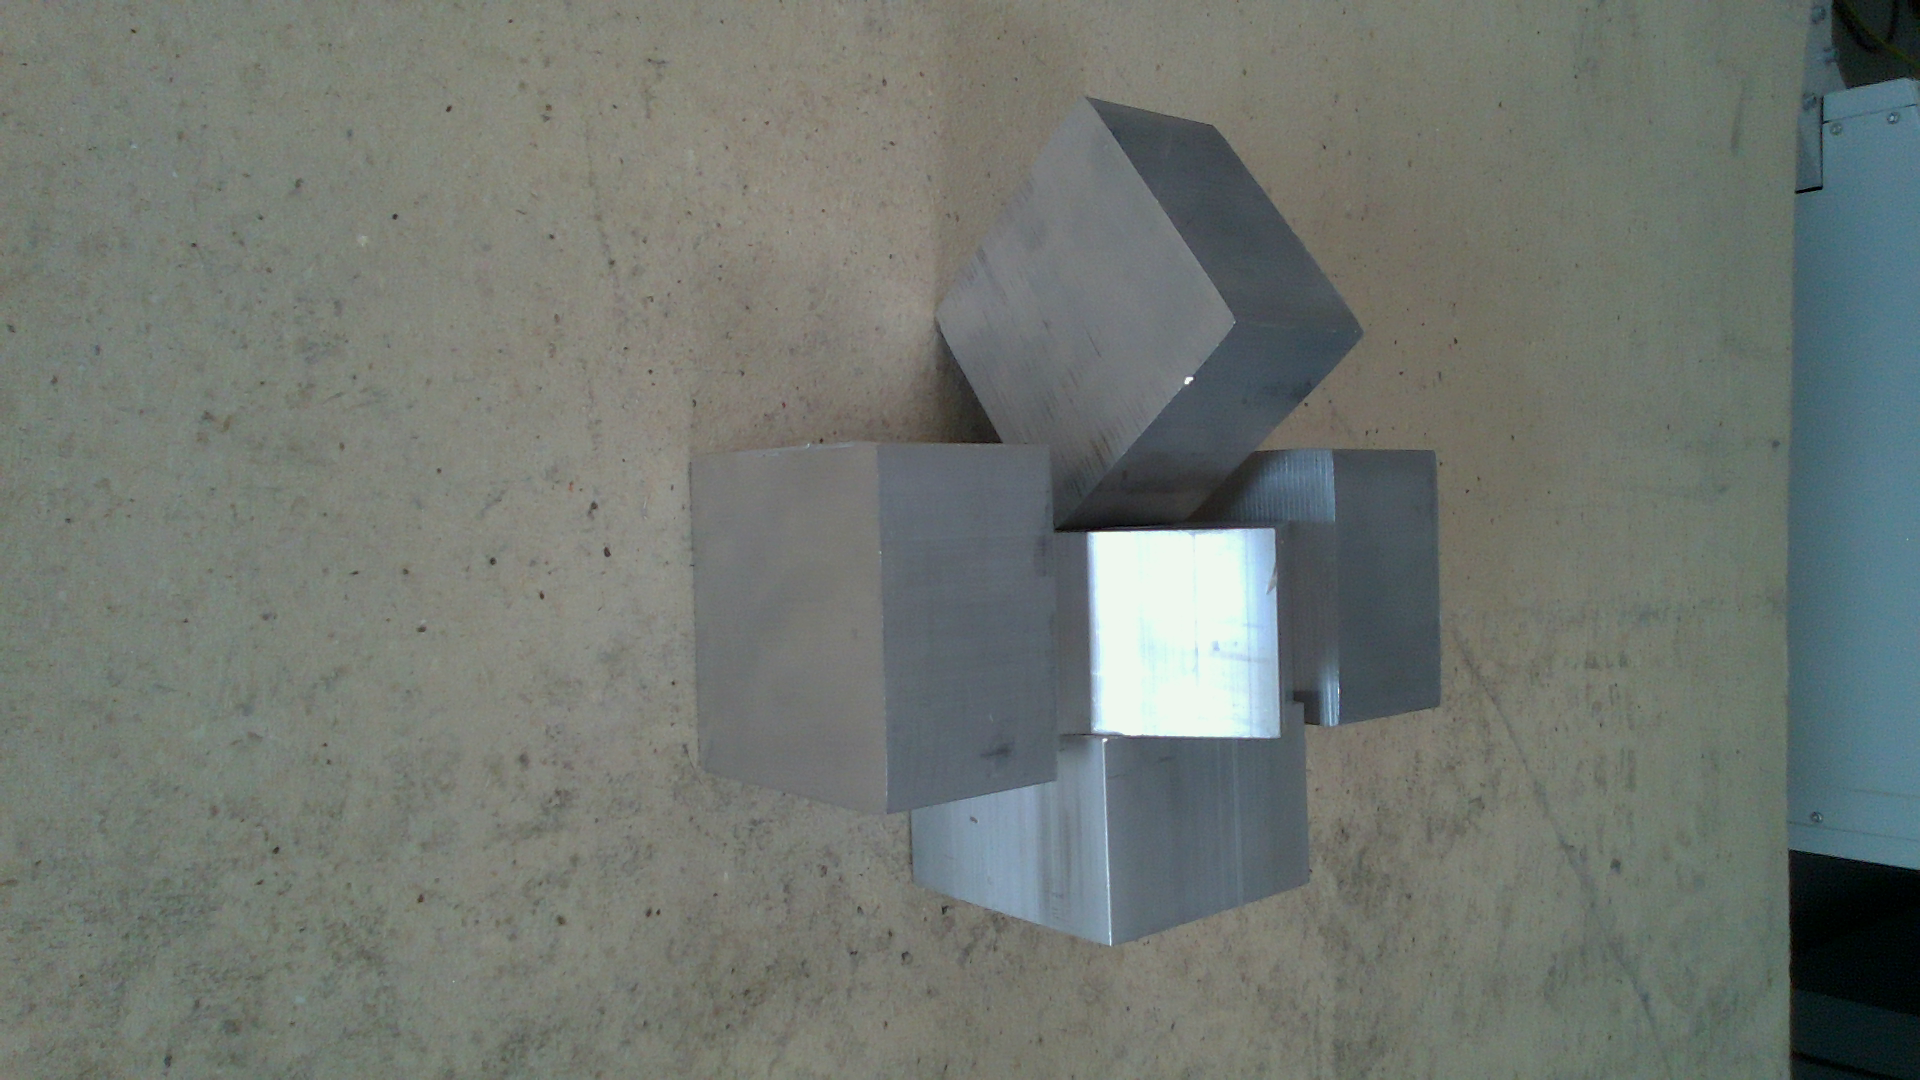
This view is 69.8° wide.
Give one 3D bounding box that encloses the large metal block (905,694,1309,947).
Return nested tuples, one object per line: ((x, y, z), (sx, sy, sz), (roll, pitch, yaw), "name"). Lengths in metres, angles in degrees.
((0.040, 0.072, 0.388), (0.080, 0.080, 0.050), (-3, 92, -40), "large metal block")

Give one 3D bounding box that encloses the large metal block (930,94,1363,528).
((0.046, -0.059, 0.373), (0.050, 0.080, 0.080), (-3, 55, -40), "large metal block")

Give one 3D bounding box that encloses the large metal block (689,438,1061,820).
((-0.023, 0.018, 0.334), (0.050, 0.080, 0.080), (-3, 91, -40), "large metal block")

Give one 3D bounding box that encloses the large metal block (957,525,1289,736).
((0.048, 0.022, 0.375), (0.080, 0.080, 0.050), (-6, 94, -75), "large metal block")

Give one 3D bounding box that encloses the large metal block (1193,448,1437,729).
((0.100, 0.014, 0.437), (0.050, 0.080, 0.080), (-3, 91, -41), "large metal block")
